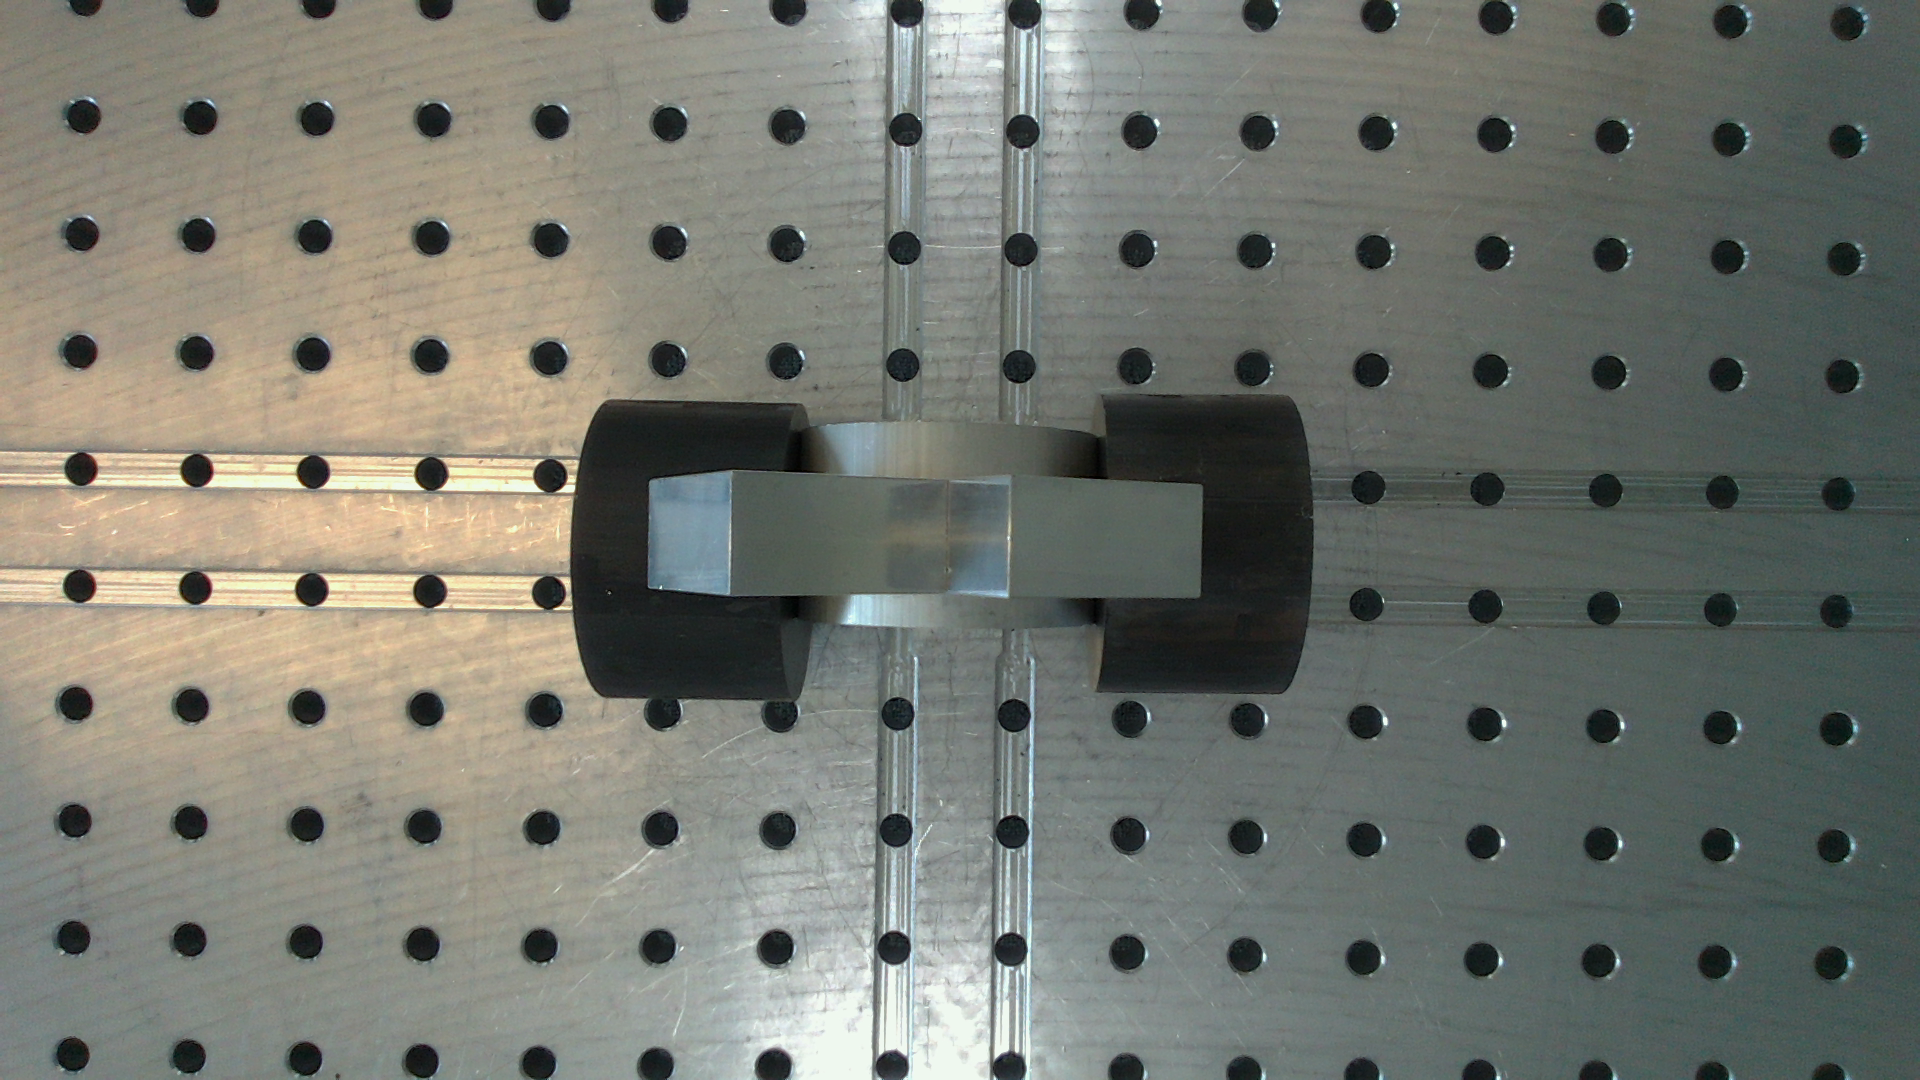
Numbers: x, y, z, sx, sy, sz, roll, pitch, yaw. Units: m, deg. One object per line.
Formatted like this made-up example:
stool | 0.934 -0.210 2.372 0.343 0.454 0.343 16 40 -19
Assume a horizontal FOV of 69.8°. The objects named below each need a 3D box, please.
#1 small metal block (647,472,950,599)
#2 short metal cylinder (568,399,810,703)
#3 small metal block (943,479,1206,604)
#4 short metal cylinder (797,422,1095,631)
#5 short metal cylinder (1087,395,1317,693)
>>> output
small metal block | -0.037 -0.001 0.304 0.050 0.050 0.025 1 90 -31
short metal cylinder | -0.069 0.003 0.369 0.050 0.080 0.080 1 90 0
small metal block | 0.019 0.000 0.308 0.050 0.050 0.025 1 90 -31
short metal cylinder | -0.004 -0.003 0.370 0.080 0.080 0.050 1 90 0
short metal cylinder | 0.061 0.001 0.369 0.050 0.080 0.080 1 90 1
